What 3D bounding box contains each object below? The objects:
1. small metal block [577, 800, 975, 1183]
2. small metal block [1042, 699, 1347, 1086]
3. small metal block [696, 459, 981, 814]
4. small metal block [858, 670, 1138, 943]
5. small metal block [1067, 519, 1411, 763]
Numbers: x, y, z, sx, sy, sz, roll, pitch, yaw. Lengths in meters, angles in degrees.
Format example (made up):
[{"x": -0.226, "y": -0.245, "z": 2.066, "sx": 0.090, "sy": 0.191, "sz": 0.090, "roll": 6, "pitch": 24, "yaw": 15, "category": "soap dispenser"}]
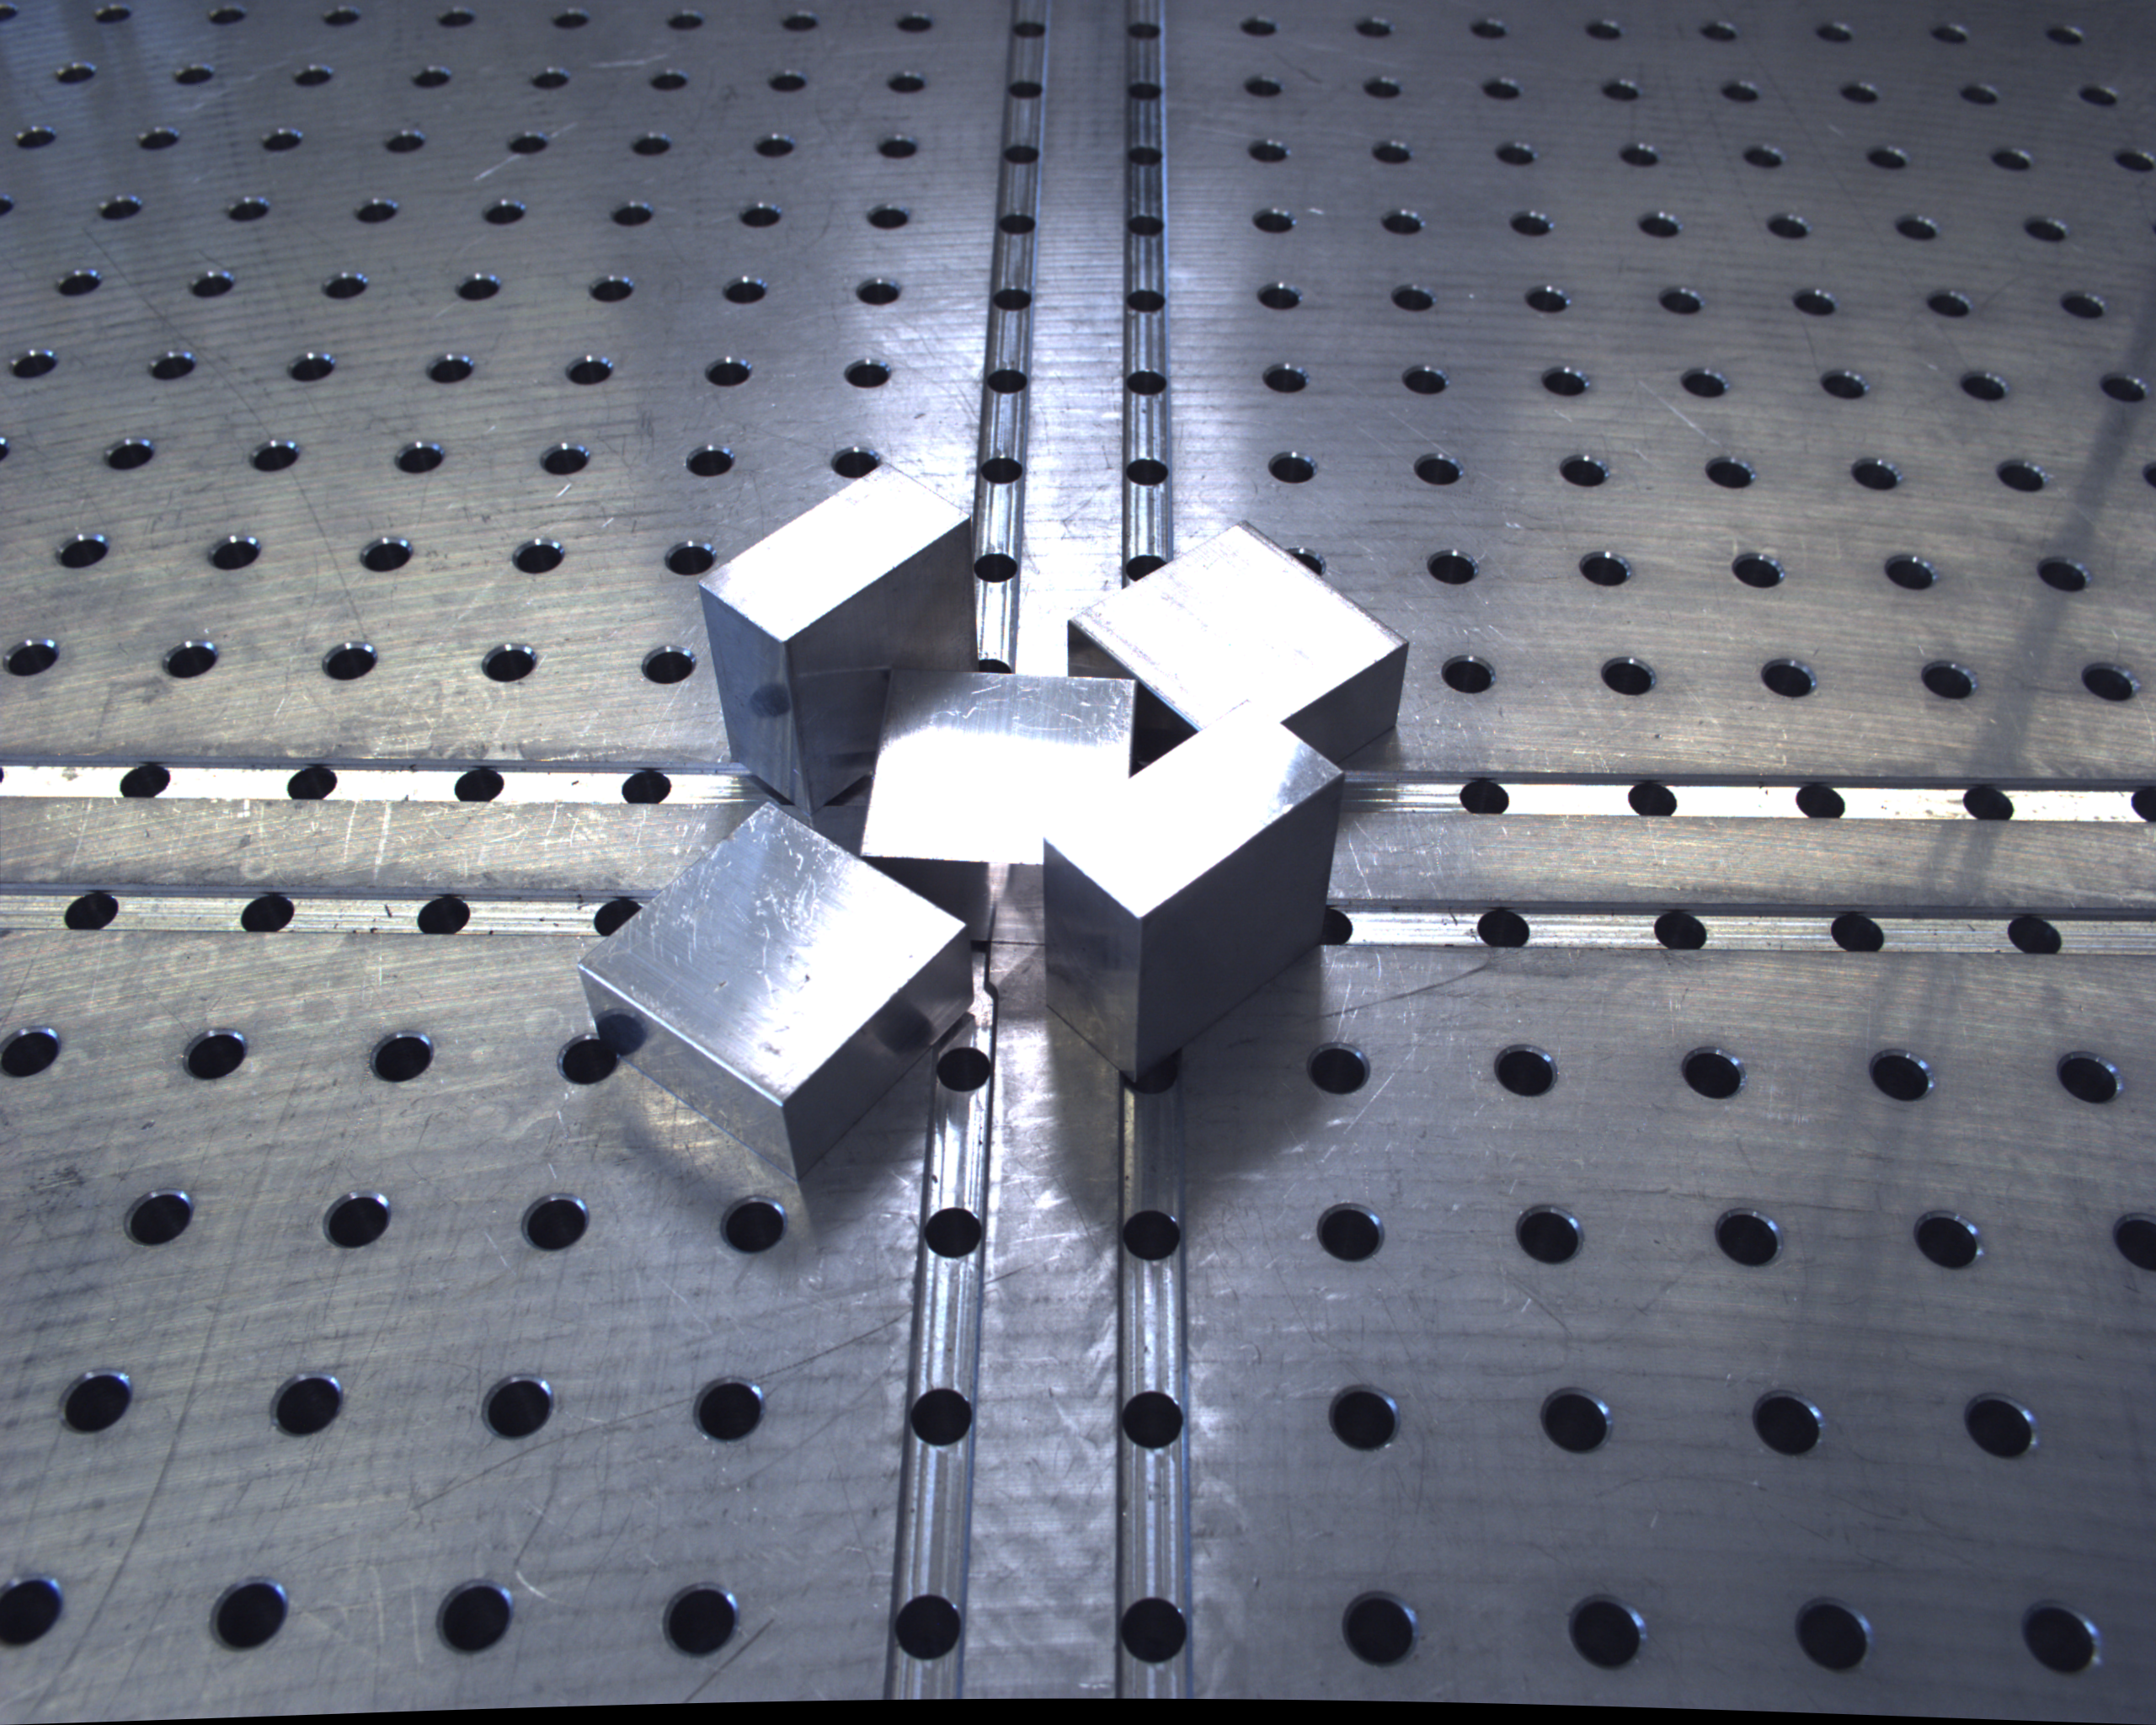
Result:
[{"x": -0.055, "y": 0.023, "z": 0.388, "sx": 0.050, "sy": 0.025, "sz": 0.050, "roll": 31, "pitch": 56, "yaw": 23, "category": "small metal block"}, {"x": 0.021, "y": 0.006, "z": 0.387, "sx": 0.050, "sy": 0.050, "sz": 0.025, "roll": -35, "pitch": 58, "yaw": -26, "category": "small metal block"}, {"x": -0.047, "y": -0.046, "z": 0.430, "sx": 0.025, "sy": 0.050, "sz": 0.050, "roll": 37, "pitch": 60, "yaw": 26, "category": "small metal block"}, {"x": -0.014, "y": -0.011, "z": 0.417, "sx": 0.050, "sy": 0.025, "sz": 0.050, "roll": 2, "pitch": 49, "yaw": 3, "category": "small metal block"}, {"x": 0.033, "y": -0.040, "z": 0.441, "sx": 0.050, "sy": 0.025, "sz": 0.050, "roll": -33, "pitch": 57, "yaw": -24, "category": "small metal block"}]
